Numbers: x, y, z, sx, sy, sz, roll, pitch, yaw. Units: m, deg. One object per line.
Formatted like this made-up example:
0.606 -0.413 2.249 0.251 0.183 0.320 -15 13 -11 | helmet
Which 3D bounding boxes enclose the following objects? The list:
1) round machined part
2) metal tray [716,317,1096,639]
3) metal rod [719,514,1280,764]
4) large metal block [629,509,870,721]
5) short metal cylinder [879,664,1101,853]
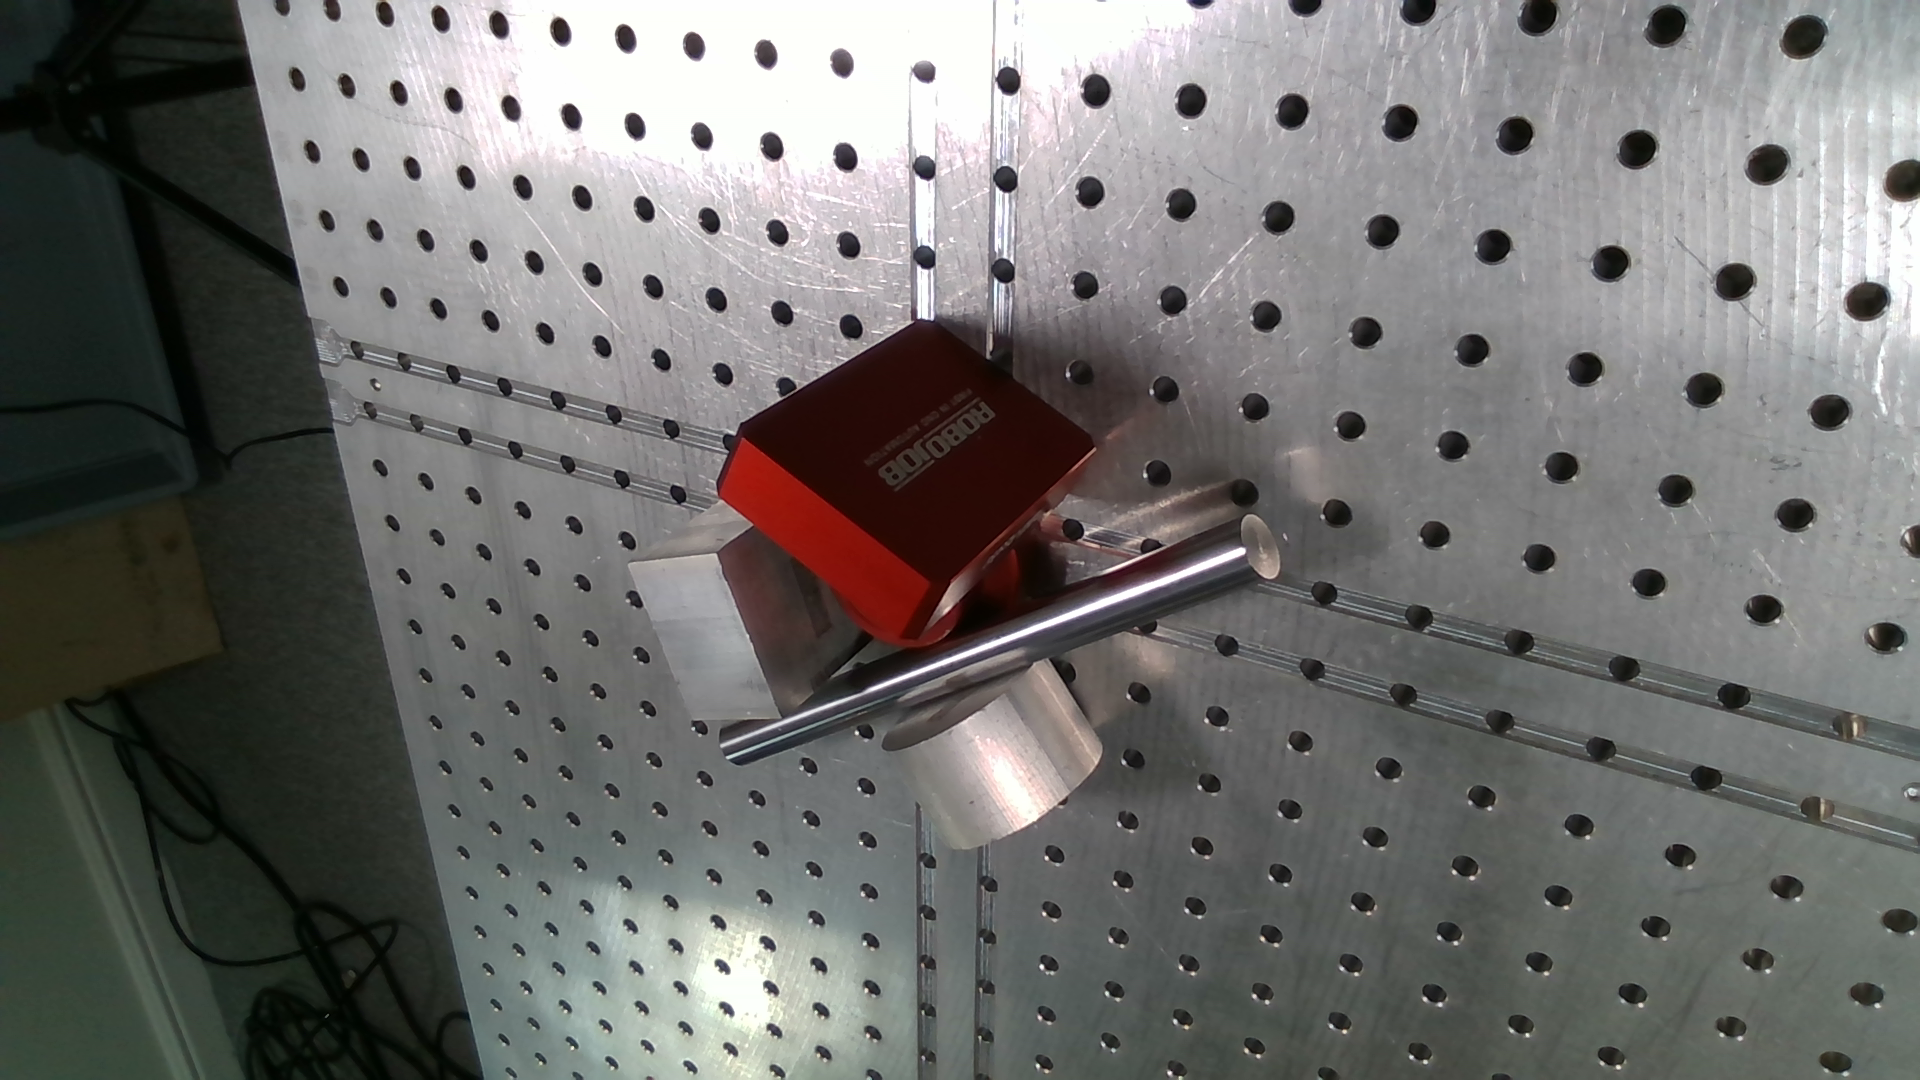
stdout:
-0.020 0.006 0.587 0.098 0.042 0.098 14 122 25 | round machined part
-0.016 -0.028 0.510 0.090 0.130 0.030 37 128 9 | metal tray
-0.001 0.051 0.584 0.300 0.025 0.025 -24 101 38 | metal rod
-0.090 0.026 0.616 0.050 0.080 0.080 -5 112 34 | large metal block
0.013 0.088 0.586 0.080 0.080 0.050 -27 99 38 | short metal cylinder
